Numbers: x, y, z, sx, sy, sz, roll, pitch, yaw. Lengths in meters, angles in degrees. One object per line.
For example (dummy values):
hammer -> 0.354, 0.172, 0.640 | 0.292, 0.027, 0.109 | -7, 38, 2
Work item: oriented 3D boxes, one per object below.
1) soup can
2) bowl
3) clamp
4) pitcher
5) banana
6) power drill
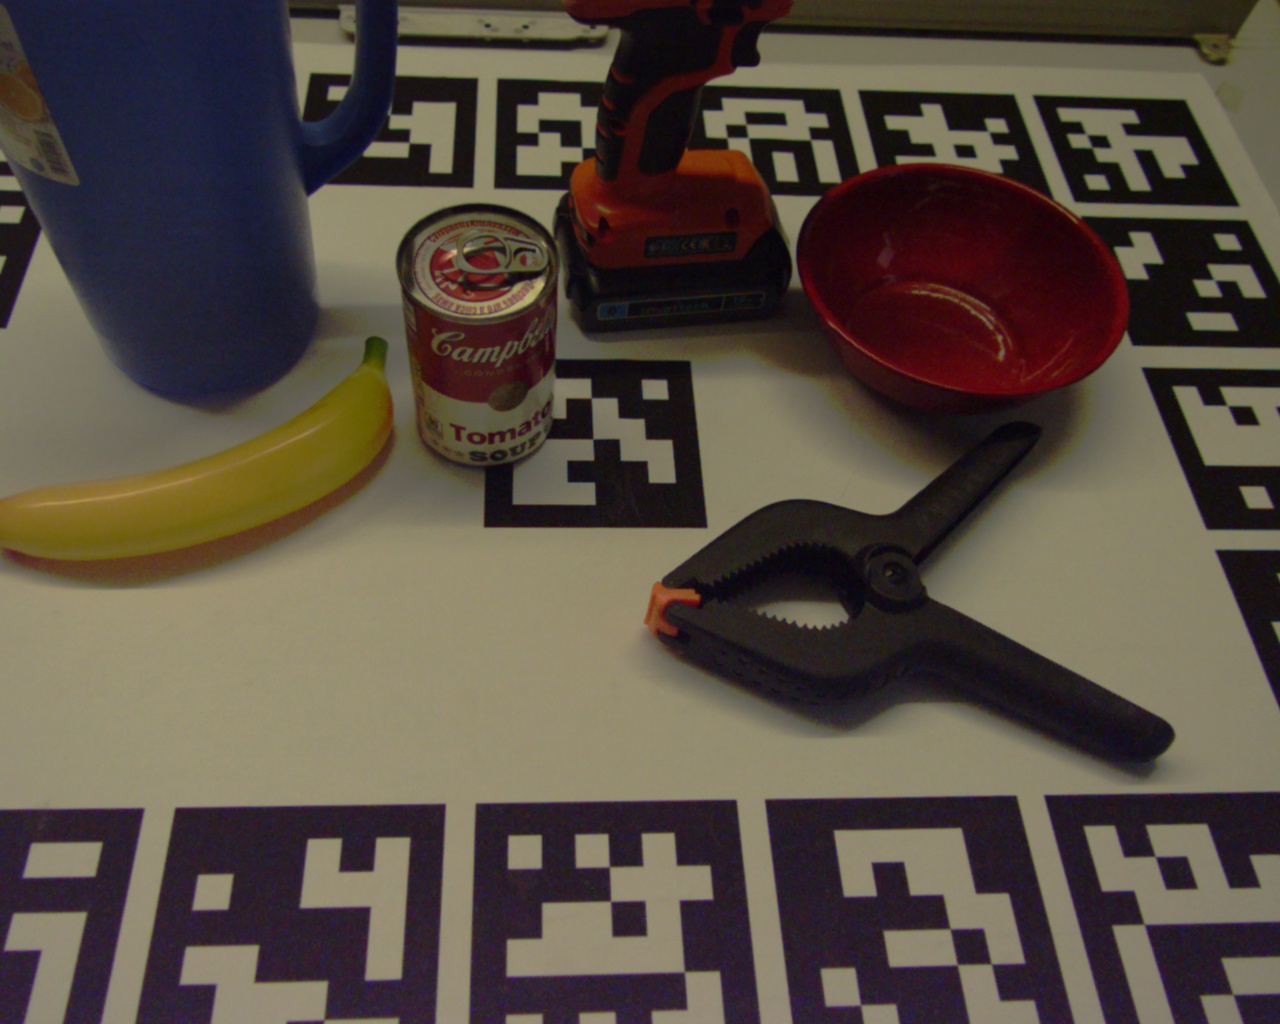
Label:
soup can -> -0.070, -0.084, 0.540 | 0.068, 0.102, 0.068 | 2, 48, -3
bowl -> 0.152, -0.107, 0.598 | 0.161, 0.055, 0.162 | 1, 58, -3
clamp -> 0.103, 0.027, 0.508 | 0.202, 0.036, 0.166 | -3, 61, -6
pitcher -> -0.188, -0.173, 0.507 | 0.187, 0.242, 0.134 | -22, 58, -18
banana -> -0.192, -0.022, 0.530 | 0.196, 0.039, 0.075 | -22, 52, -20
power drill -> 0.046, -0.201, 0.552 | 0.184, 0.187, 0.058 | -4, 57, -8
